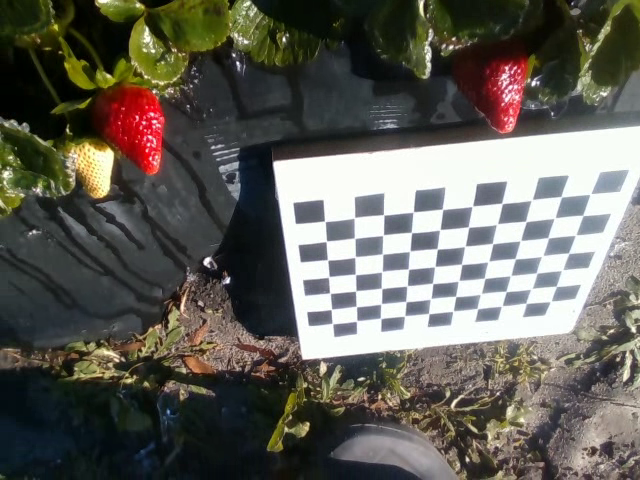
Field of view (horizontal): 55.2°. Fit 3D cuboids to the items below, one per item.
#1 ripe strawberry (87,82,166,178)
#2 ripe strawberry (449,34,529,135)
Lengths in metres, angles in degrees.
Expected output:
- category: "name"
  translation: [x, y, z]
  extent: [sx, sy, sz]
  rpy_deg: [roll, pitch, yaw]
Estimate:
- category: "ripe strawberry"
  translation: [-0.116, -0.066, 0.390]
  extent: [0.042, 0.061, 0.046]
  rpy_deg: [-15, 6, 10]
- category: "ripe strawberry"
  translation: [0.111, -0.094, 0.380]
  extent: [0.049, 0.061, 0.044]
  rpy_deg: [-10, 16, 4]
